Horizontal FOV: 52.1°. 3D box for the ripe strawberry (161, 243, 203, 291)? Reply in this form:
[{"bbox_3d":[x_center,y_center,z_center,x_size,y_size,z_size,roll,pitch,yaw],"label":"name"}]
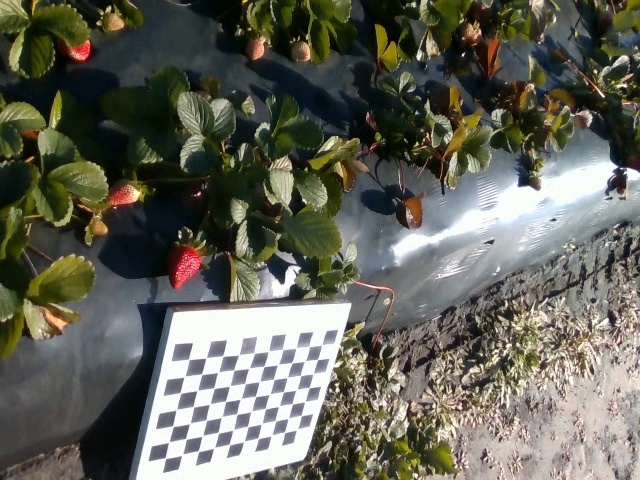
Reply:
[{"bbox_3d":[-0.166,0.034,0.748,0.058,0.062,0.066,-24,-47,8],"label":"ripe strawberry"}]
